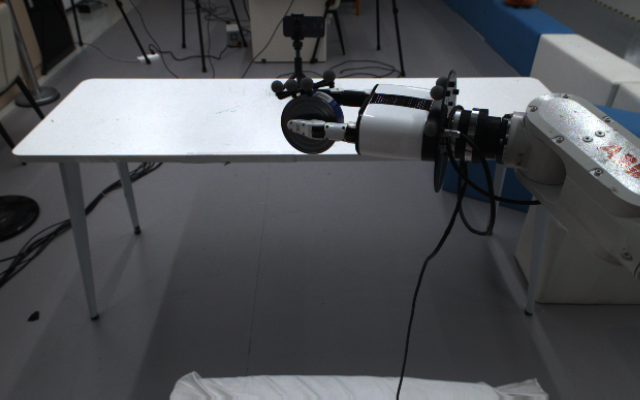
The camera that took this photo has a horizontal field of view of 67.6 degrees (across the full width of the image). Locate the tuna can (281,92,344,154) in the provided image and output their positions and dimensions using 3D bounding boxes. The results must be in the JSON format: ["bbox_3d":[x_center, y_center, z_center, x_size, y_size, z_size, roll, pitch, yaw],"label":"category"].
[{"bbox_3d":[-0.008,-0.107,0.685,0.085,0.085,0.034,13,29,15],"label":"tuna can"}]
